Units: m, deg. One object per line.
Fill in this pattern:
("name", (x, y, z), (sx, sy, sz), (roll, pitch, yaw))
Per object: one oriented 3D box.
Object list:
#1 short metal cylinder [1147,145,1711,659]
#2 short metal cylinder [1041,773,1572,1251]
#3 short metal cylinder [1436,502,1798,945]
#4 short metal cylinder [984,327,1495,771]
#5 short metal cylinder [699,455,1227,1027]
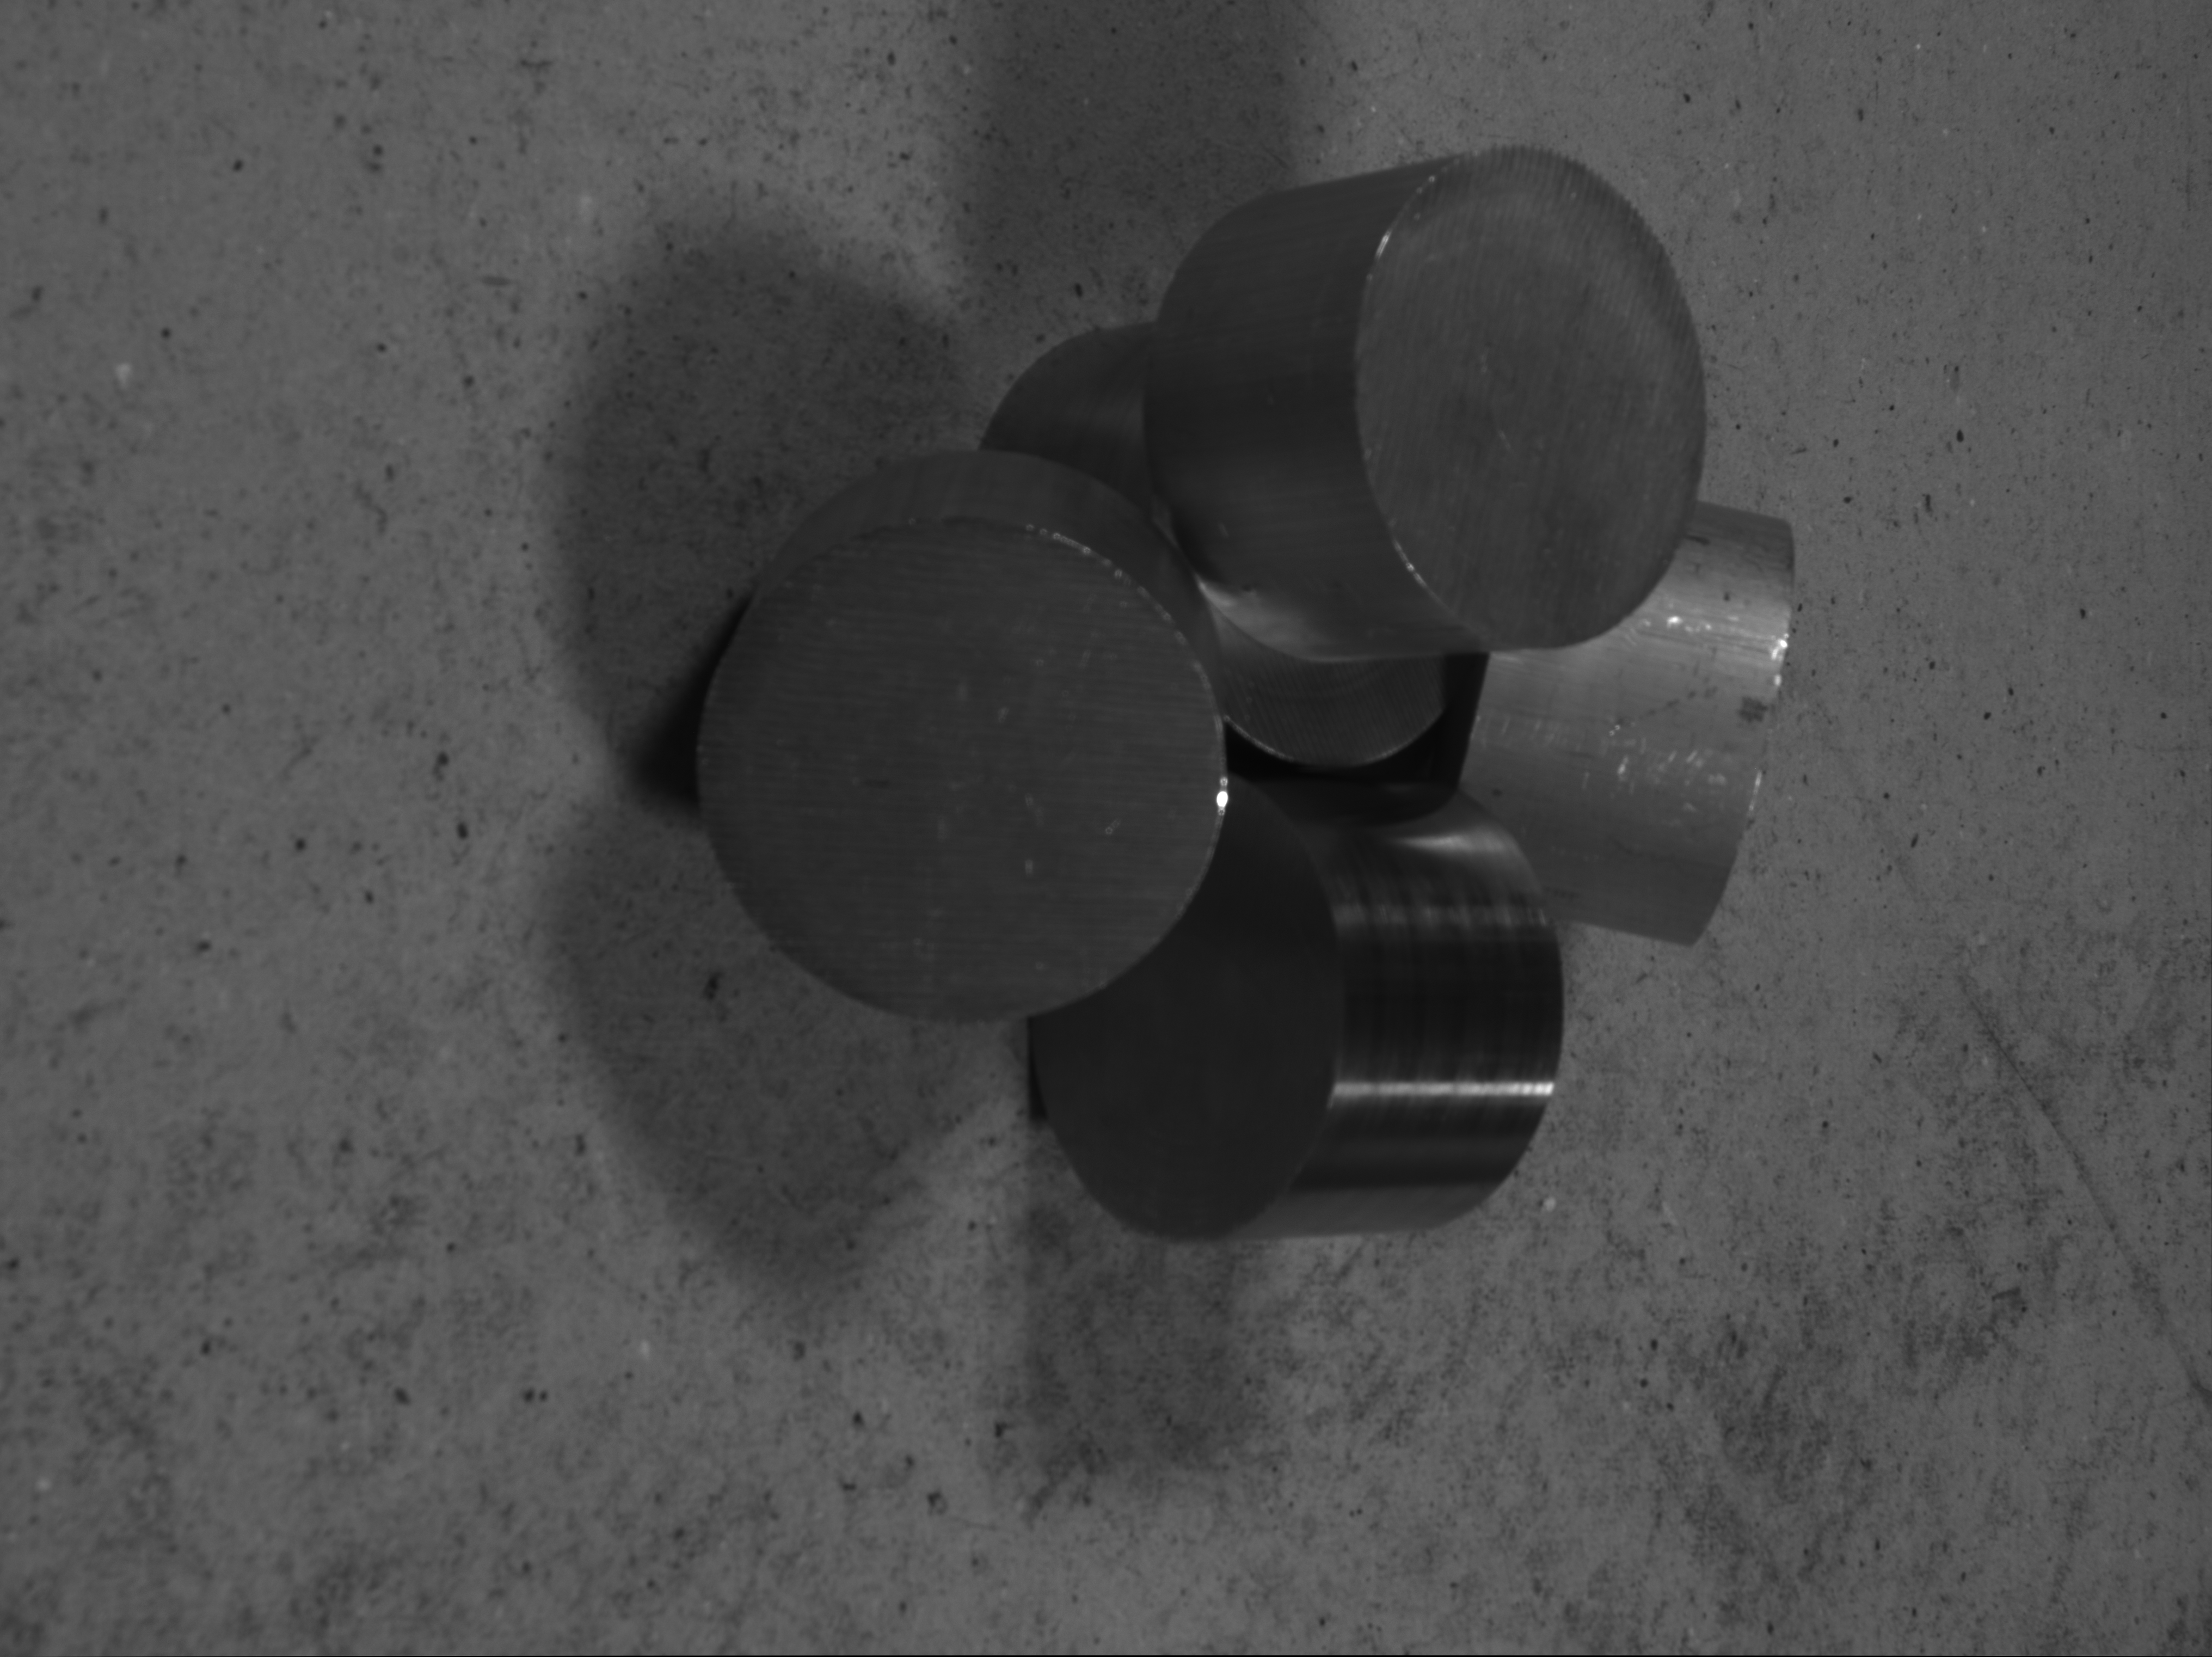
("short metal cylinder", (0.053, -0.068, 0.600), (0.080, 0.050, 0.080), (0, 90, -40))
("short metal cylinder", (0.033, 0.031, 0.628), (0.050, 0.080, 0.080), (2, 88, -40))
("short metal cylinder", (0.091, -0.023, 0.670), (0.050, 0.080, 0.080), (12, 80, 0))
("short metal cylinder", (0.023, -0.050, 0.641), (0.080, 0.050, 0.080), (0, 90, -40))
("short metal cylinder", (-0.021, -0.015, 0.578), (0.080, 0.050, 0.080), (0, 107, 1))
